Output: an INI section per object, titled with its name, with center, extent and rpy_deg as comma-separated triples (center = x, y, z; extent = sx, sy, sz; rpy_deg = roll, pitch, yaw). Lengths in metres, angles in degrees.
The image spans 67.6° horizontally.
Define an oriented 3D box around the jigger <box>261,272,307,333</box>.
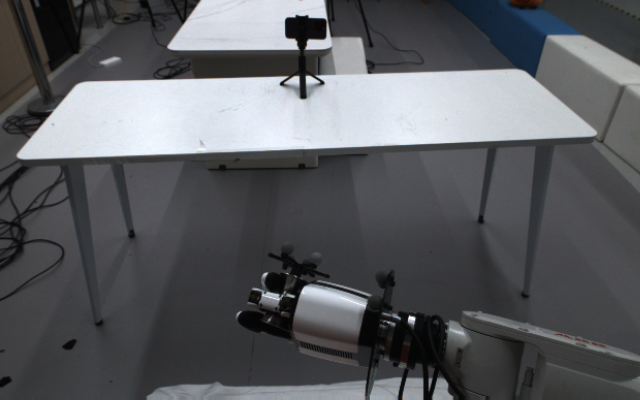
[jigger]
center = -0.044, 0.133, 0.637
extent = 0.043, 0.043, 0.071
rpy_deg = 15, 71, 18
